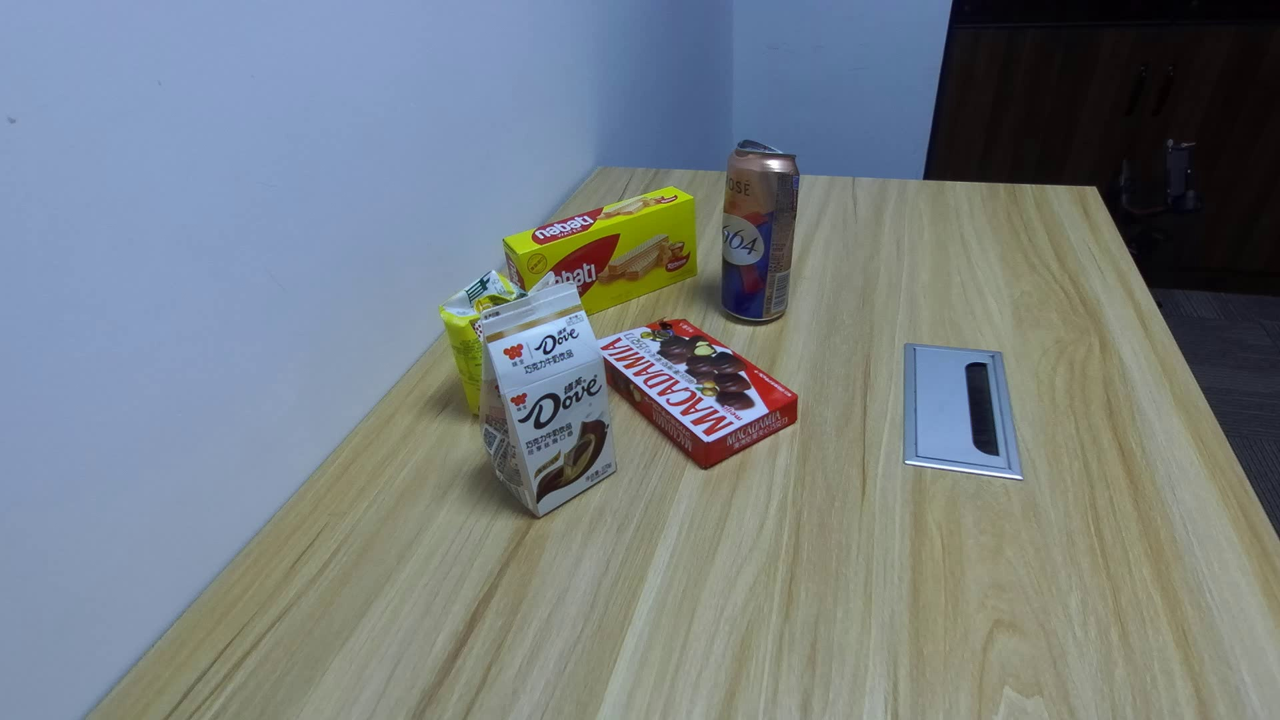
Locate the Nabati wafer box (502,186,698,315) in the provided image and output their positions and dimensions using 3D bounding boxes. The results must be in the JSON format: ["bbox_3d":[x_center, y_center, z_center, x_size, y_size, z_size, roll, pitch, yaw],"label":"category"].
[{"bbox_3d":[-0.032,-0.104,0.727,0.203,0.093,0.042,-22,37,-22],"label":"Nabati wafer box"}]

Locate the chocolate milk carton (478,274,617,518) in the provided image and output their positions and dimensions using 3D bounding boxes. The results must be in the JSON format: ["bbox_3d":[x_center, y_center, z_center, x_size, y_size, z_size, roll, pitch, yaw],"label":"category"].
[{"bbox_3d":[-0.074,0.022,0.499,0.084,0.155,0.072,-28,41,-27],"label":"chocolate milk carton"}]

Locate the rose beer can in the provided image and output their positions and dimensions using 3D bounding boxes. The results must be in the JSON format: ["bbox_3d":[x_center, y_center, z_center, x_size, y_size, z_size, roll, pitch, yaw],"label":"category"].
[{"bbox_3d":[0.112,-0.119,0.666,0.069,0.168,0.070,7,31,13],"label":"rose beer can"}]

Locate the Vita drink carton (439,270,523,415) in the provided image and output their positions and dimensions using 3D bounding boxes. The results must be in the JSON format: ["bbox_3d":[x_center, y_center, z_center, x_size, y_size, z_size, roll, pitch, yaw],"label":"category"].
[{"bbox_3d":[-0.117,-0.010,0.594,0.046,0.110,0.071,18,43,30],"label":"Vita drink carton"}]

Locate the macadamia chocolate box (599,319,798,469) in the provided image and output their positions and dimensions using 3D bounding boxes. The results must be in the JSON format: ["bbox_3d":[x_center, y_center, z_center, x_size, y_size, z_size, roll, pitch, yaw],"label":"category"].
[{"bbox_3d":[0.040,0.014,0.607,0.103,0.027,0.186,-23,39,-25],"label":"macadamia chocolate box"}]
